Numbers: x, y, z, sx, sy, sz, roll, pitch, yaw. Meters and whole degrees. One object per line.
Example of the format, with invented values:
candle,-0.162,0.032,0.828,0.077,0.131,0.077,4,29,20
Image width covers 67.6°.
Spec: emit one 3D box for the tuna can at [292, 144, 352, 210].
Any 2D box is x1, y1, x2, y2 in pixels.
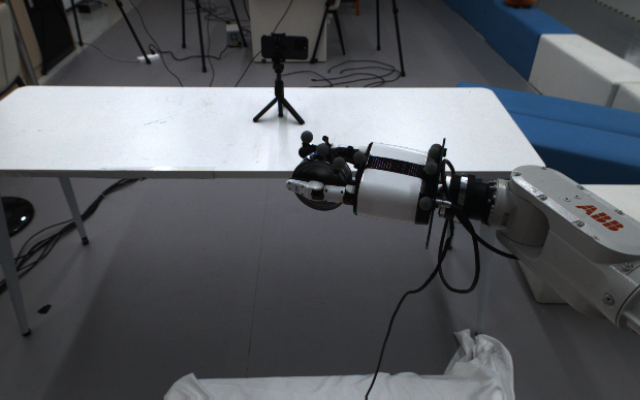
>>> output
tuna can,0.005,-0.029,0.714,0.085,0.085,0.034,12,33,14
